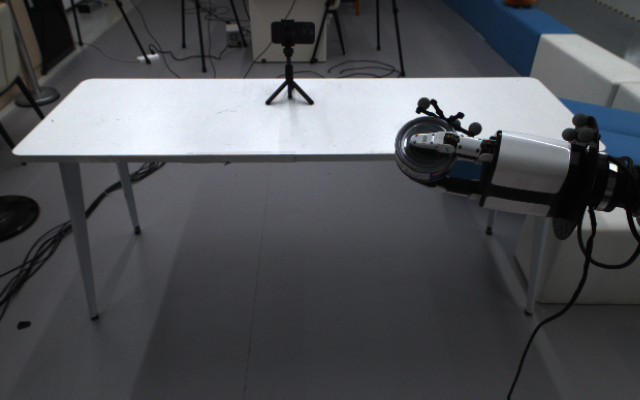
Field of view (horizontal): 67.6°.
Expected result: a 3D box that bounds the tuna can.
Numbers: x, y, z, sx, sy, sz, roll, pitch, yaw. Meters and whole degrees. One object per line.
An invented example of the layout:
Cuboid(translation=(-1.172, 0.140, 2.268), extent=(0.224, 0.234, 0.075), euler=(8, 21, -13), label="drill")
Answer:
Cuboid(translation=(0.147, -0.072, 0.659), extent=(0.085, 0.034, 0.085), euler=(-4, 69, 10), label="tuna can")
